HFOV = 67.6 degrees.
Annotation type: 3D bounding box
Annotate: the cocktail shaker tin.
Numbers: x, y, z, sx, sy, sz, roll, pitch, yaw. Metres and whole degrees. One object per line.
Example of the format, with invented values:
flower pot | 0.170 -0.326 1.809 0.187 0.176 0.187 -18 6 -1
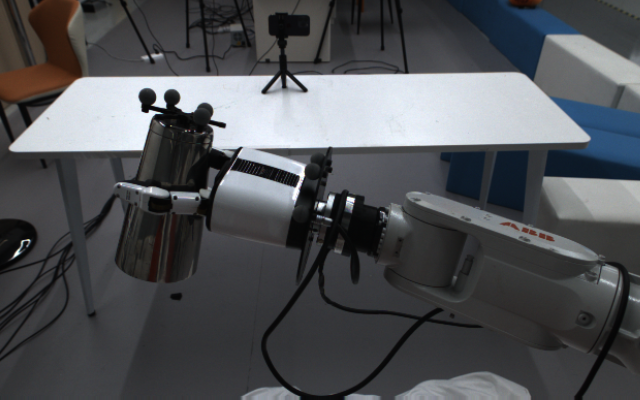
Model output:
cocktail shaker tin | -0.168 -0.004 0.543 0.093 0.170 0.093 14 17 -5
